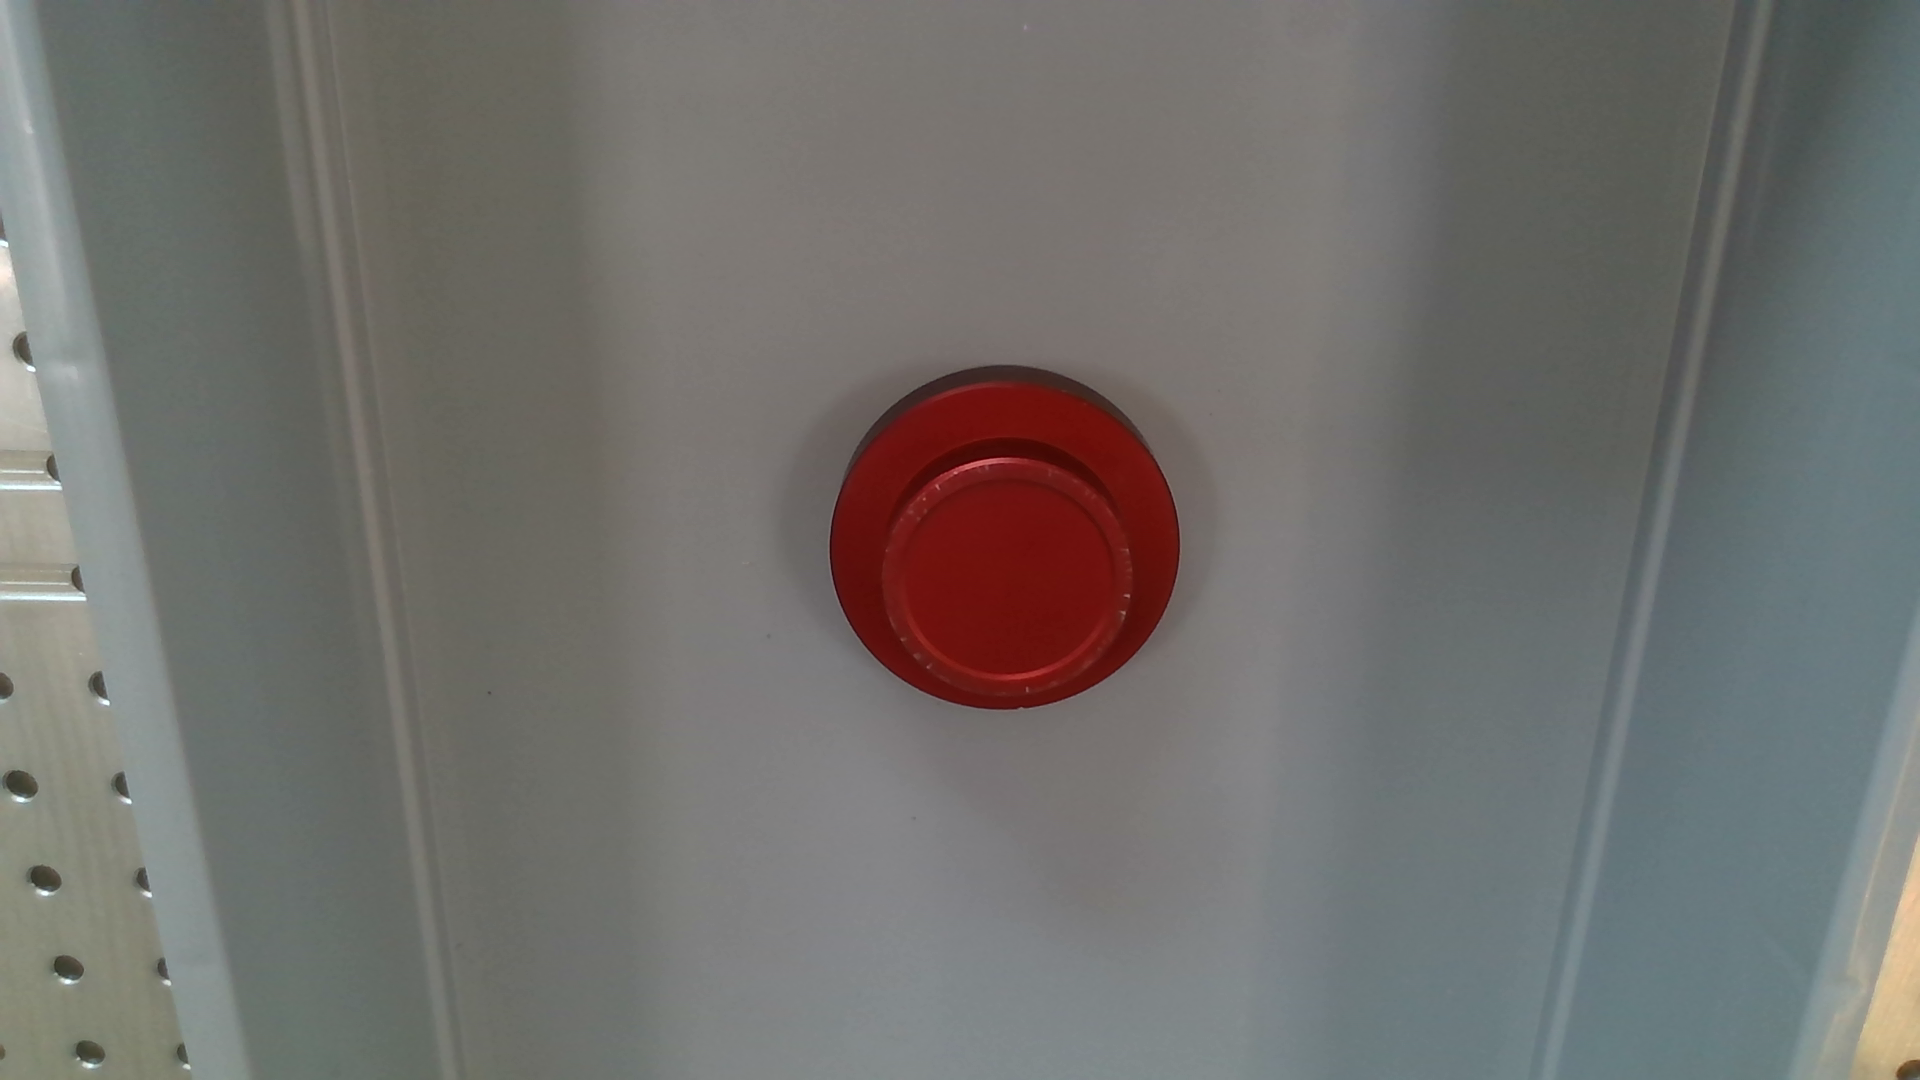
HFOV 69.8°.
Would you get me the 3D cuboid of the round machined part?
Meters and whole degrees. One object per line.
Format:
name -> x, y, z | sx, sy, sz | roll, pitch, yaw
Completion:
round machined part -> 0.012, 0.004, 0.383 | 0.098, 0.042, 0.098 | 0, 110, 0
